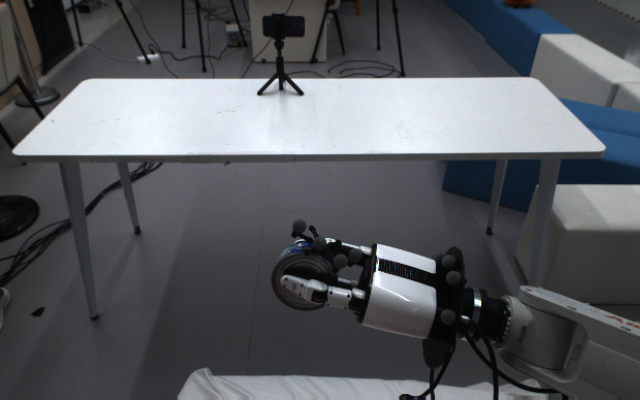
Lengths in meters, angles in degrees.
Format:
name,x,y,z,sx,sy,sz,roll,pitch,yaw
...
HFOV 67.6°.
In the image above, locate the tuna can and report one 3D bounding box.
name,x,y,z,sx,sy,sz,roll,pitch,yaw
tuna can,-0.016,0.098,0.628,0.085,0.085,0.034,4,20,3
